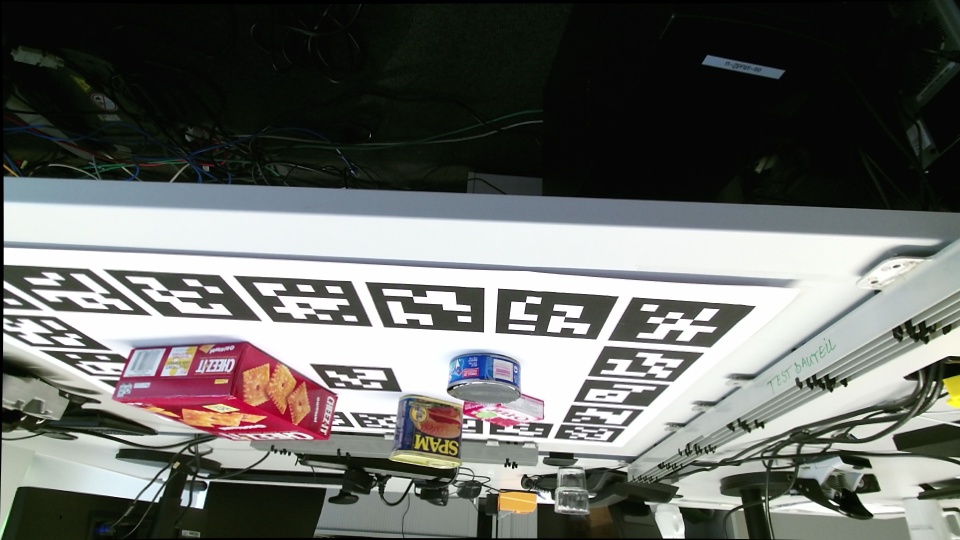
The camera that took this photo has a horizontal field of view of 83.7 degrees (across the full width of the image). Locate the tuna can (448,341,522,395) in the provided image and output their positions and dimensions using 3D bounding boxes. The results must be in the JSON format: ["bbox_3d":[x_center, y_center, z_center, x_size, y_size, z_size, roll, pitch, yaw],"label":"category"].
[{"bbox_3d":[0.005,0.115,0.622,0.086,0.033,0.086,2,147,1],"label":"tuna can"}]

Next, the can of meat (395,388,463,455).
[{"bbox_3d":[-0.075,0.219,0.781,0.102,0.083,0.058,18,147,-25],"label":"can of meat"}]

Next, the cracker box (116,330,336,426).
[{"bbox_3d":[-0.317,0.150,0.699,0.165,0.071,0.214,-4,150,17],"label":"cracker box"}]

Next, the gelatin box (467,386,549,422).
[{"bbox_3d":[0.039,0.185,0.747,0.090,0.030,0.073,29,144,-32],"label":"gelatin box"}]
